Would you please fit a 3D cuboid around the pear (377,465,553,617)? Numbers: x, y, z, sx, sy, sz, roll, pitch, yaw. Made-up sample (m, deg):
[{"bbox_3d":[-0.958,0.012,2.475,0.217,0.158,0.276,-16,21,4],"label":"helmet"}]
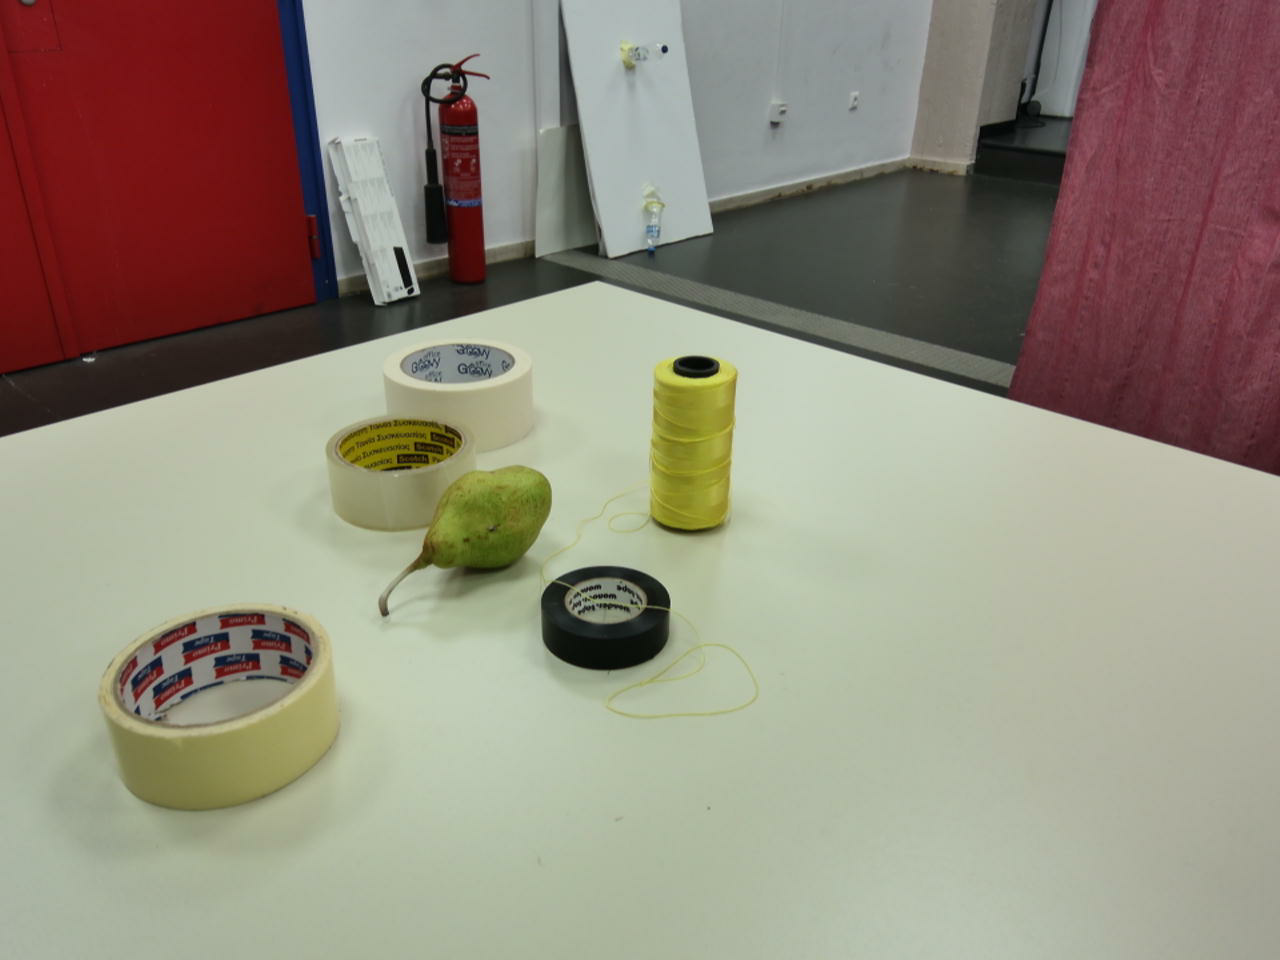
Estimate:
[{"bbox_3d":[-0.100,0.026,0.550,0.111,0.056,0.056,-15,29,-30],"label":"pear"}]
